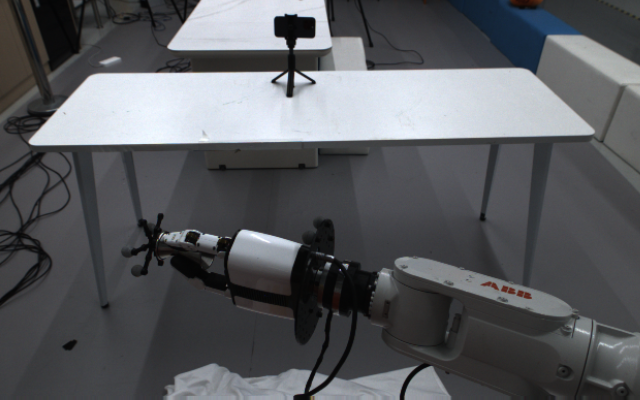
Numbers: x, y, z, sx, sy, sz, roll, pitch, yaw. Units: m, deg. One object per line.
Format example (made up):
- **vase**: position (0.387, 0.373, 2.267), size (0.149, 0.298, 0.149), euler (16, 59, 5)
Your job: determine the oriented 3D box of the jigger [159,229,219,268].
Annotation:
- **jigger**: position (-0.176, 0.062, 0.655), size (0.071, 0.043, 0.043), euler (8, 35, 14)
